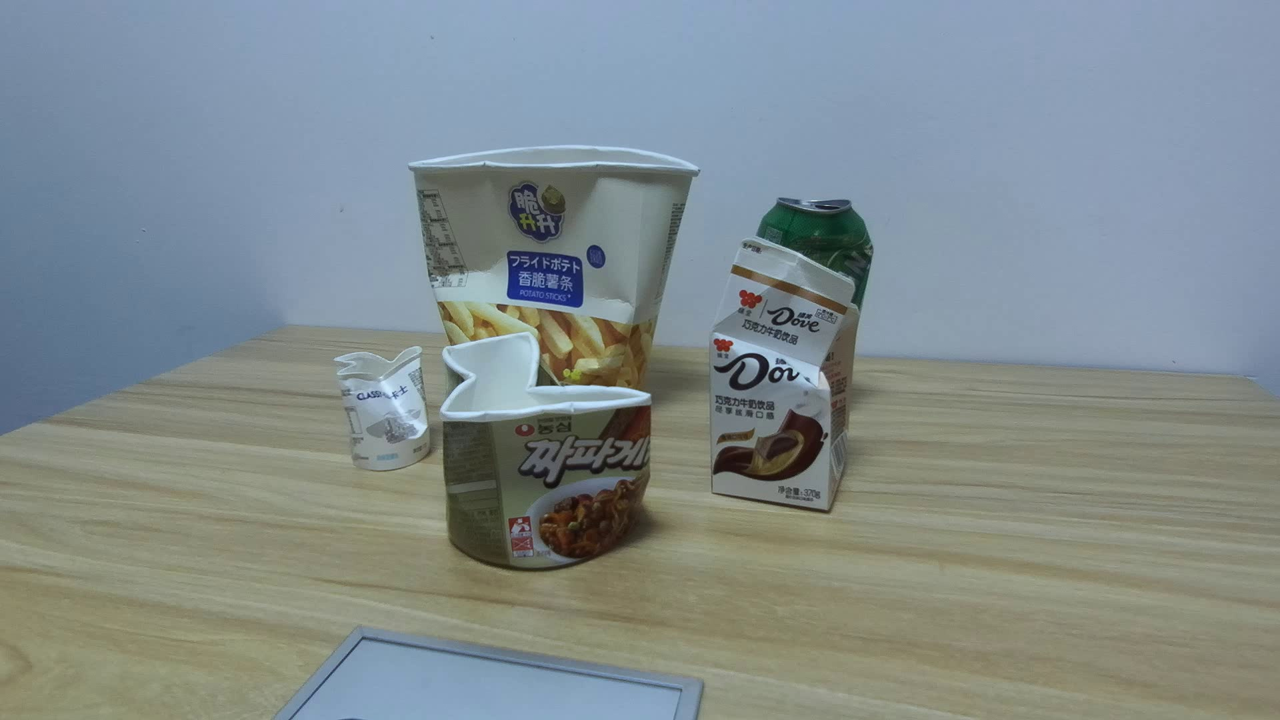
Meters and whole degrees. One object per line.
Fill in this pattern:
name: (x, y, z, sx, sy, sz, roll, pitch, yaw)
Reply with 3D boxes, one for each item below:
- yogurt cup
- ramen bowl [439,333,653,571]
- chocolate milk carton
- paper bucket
yogurt cup: (-0.177, 0.032, 0.489, 0.055, 0.072, 0.055, -8, 19, -17)
ramen bowl: (-0.059, 0.046, 0.407, 0.112, 0.093, 0.128, -6, 20, -14)
chocolate milk carton: (0.087, 0.003, 0.424, 0.076, 0.155, 0.074, 7, 22, 20)
paper bucket: (-0.069, -0.064, 0.563, 0.218, 0.199, 0.147, -3, 20, -3)
